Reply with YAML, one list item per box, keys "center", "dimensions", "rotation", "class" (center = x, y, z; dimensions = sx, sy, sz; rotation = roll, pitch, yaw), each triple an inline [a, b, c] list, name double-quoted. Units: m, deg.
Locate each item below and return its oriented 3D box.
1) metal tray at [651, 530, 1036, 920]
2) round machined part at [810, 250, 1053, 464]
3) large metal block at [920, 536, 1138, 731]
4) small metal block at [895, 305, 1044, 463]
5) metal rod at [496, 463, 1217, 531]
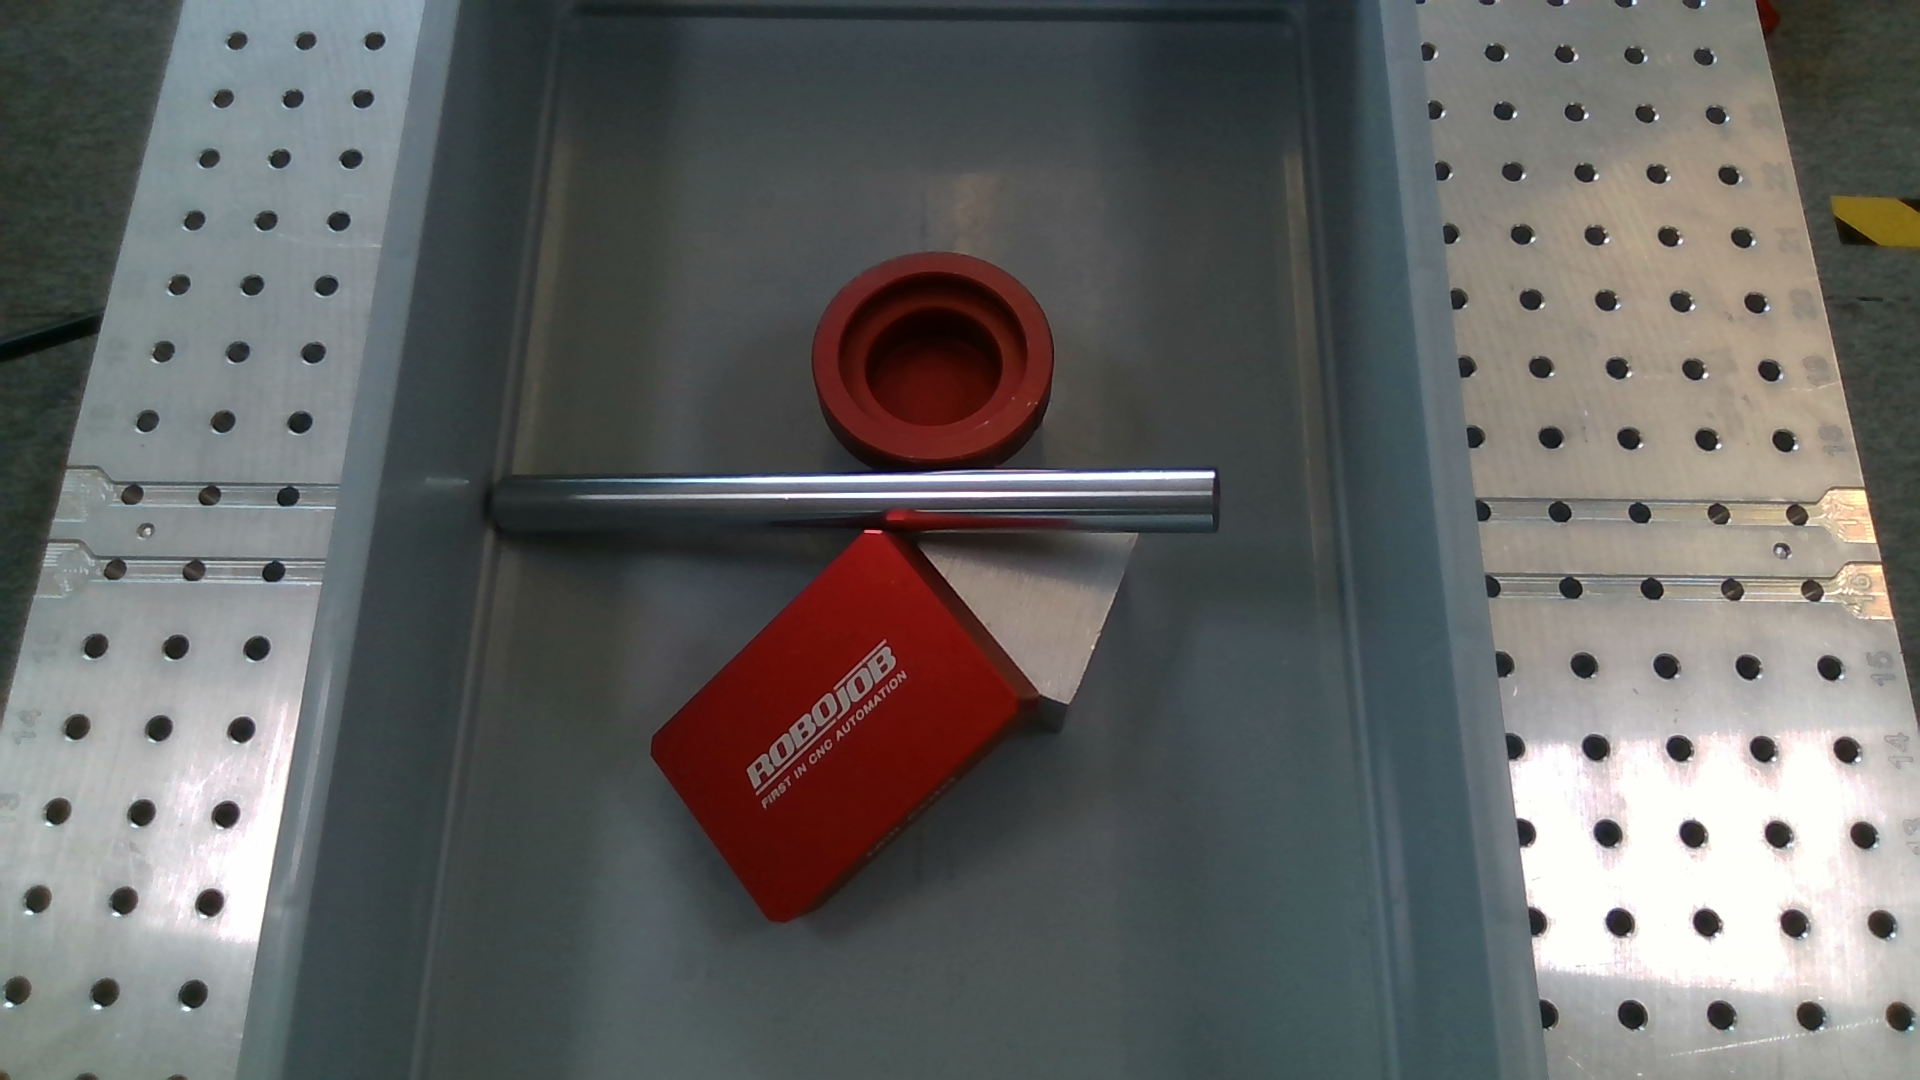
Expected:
- center: [-0.046, 0.071, 0.532]
  dimensions: [0.130, 0.030, 0.090]
  rotation: [-44, 74, 12]
  class: "metal tray"
- center: [-0.011, -0.068, 0.574]
  dimensions: [0.098, 0.042, 0.098]
  rotation: [0, 67, 1]
  class: "round machined part"
- center: [0.021, 0.022, 0.567]
  dimensions: [0.080, 0.050, 0.080]
  rotation: [22, 72, 7]
  class: "large metal block"
- center: [0.004, -0.069, 0.613]
  dimensions: [0.050, 0.025, 0.050]
  rotation: [-21, 72, -7]
  class: "small metal block"
- center: [-0.049, -0.016, 0.550]
  dimensions: [0.300, 0.025, 0.025]
  rotation: [0, 69, 17]
  class: "metal rod"
